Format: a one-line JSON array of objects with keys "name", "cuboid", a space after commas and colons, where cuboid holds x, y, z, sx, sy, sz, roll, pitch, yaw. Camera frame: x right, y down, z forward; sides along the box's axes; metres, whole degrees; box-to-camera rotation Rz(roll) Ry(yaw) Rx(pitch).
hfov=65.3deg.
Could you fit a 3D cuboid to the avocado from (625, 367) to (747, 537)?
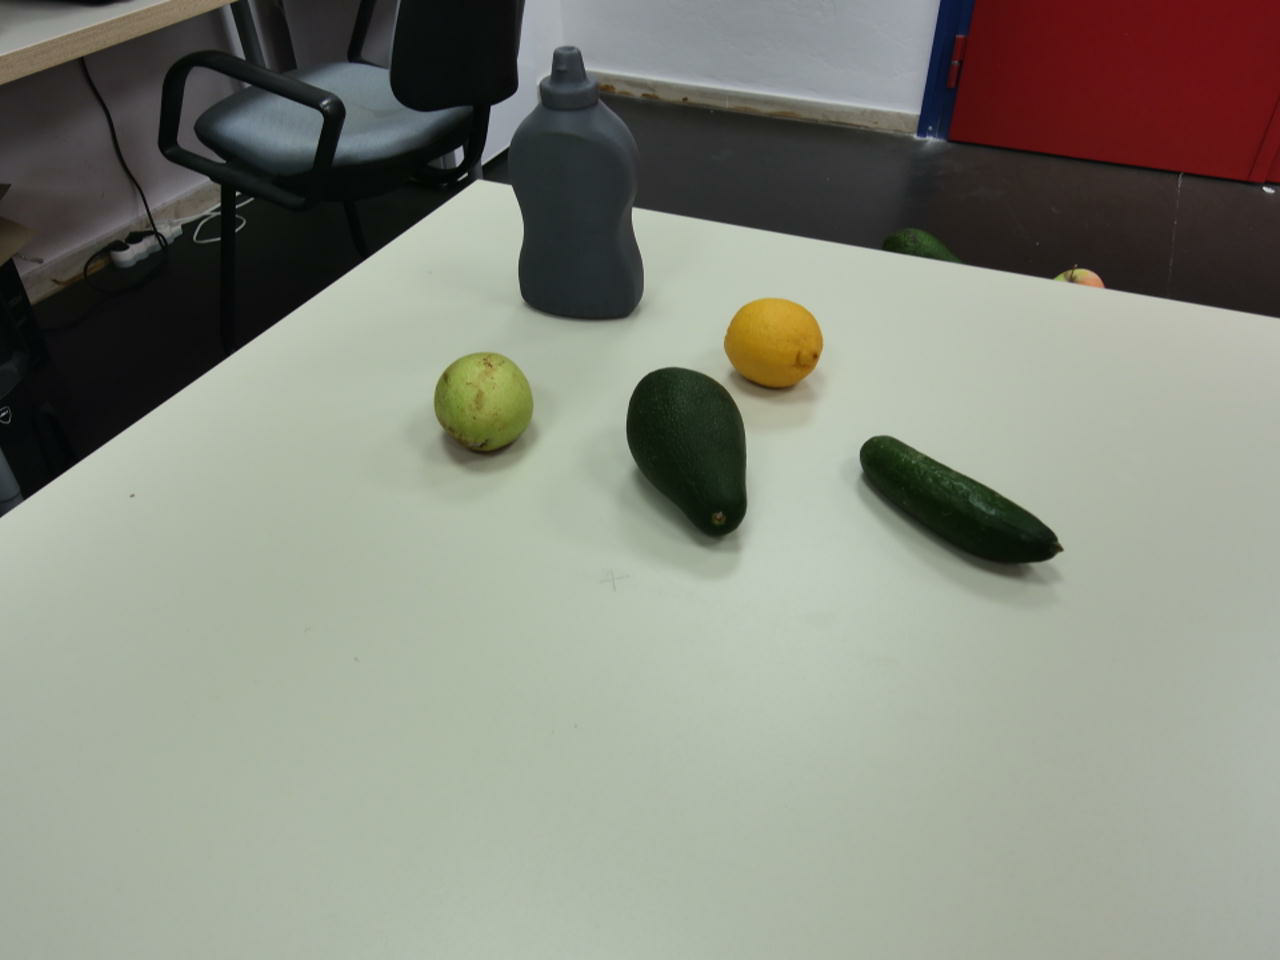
[{"name": "avocado", "cuboid": [0.026, -0.021, 0.590, 0.072, 0.071, 0.109, 0, 38, 2]}]
